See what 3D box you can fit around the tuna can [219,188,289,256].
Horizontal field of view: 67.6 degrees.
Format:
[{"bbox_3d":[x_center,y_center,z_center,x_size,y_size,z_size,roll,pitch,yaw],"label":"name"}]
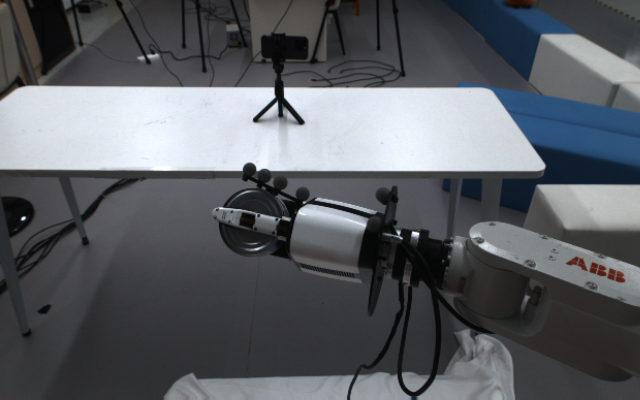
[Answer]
[{"bbox_3d":[-0.079,0.028,0.612,0.085,0.085,0.034,14,-6,16],"label":"tuna can"}]
